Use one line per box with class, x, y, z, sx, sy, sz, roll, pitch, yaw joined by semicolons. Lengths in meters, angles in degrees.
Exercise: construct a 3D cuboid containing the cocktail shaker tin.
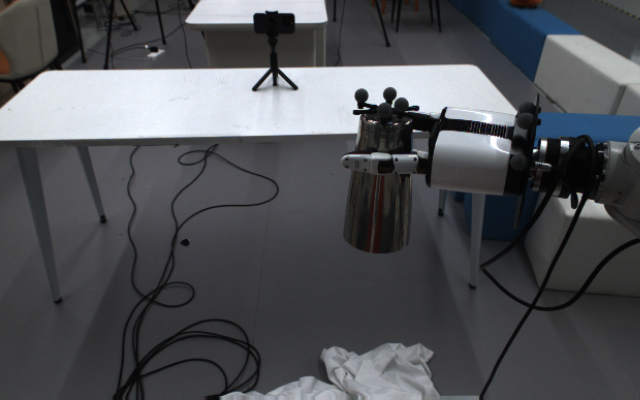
cocktail shaker tin;0.083;-0.030;0.636;0.093;0.170;0.093;1;27;-1
